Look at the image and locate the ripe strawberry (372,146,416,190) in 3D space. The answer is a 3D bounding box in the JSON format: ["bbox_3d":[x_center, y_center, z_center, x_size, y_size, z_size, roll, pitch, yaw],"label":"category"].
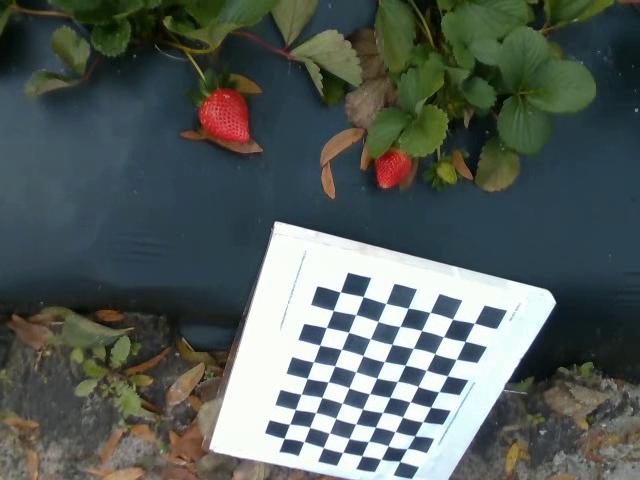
[{"bbox_3d":[0.067,-0.062,0.592,0.040,0.042,0.037,23,-22,-15],"label":"ripe strawberry"}]

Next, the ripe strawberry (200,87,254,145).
[{"bbox_3d":[-0.078,-0.103,0.563,0.042,0.047,0.065,-8,44,-44],"label":"ripe strawberry"}]
